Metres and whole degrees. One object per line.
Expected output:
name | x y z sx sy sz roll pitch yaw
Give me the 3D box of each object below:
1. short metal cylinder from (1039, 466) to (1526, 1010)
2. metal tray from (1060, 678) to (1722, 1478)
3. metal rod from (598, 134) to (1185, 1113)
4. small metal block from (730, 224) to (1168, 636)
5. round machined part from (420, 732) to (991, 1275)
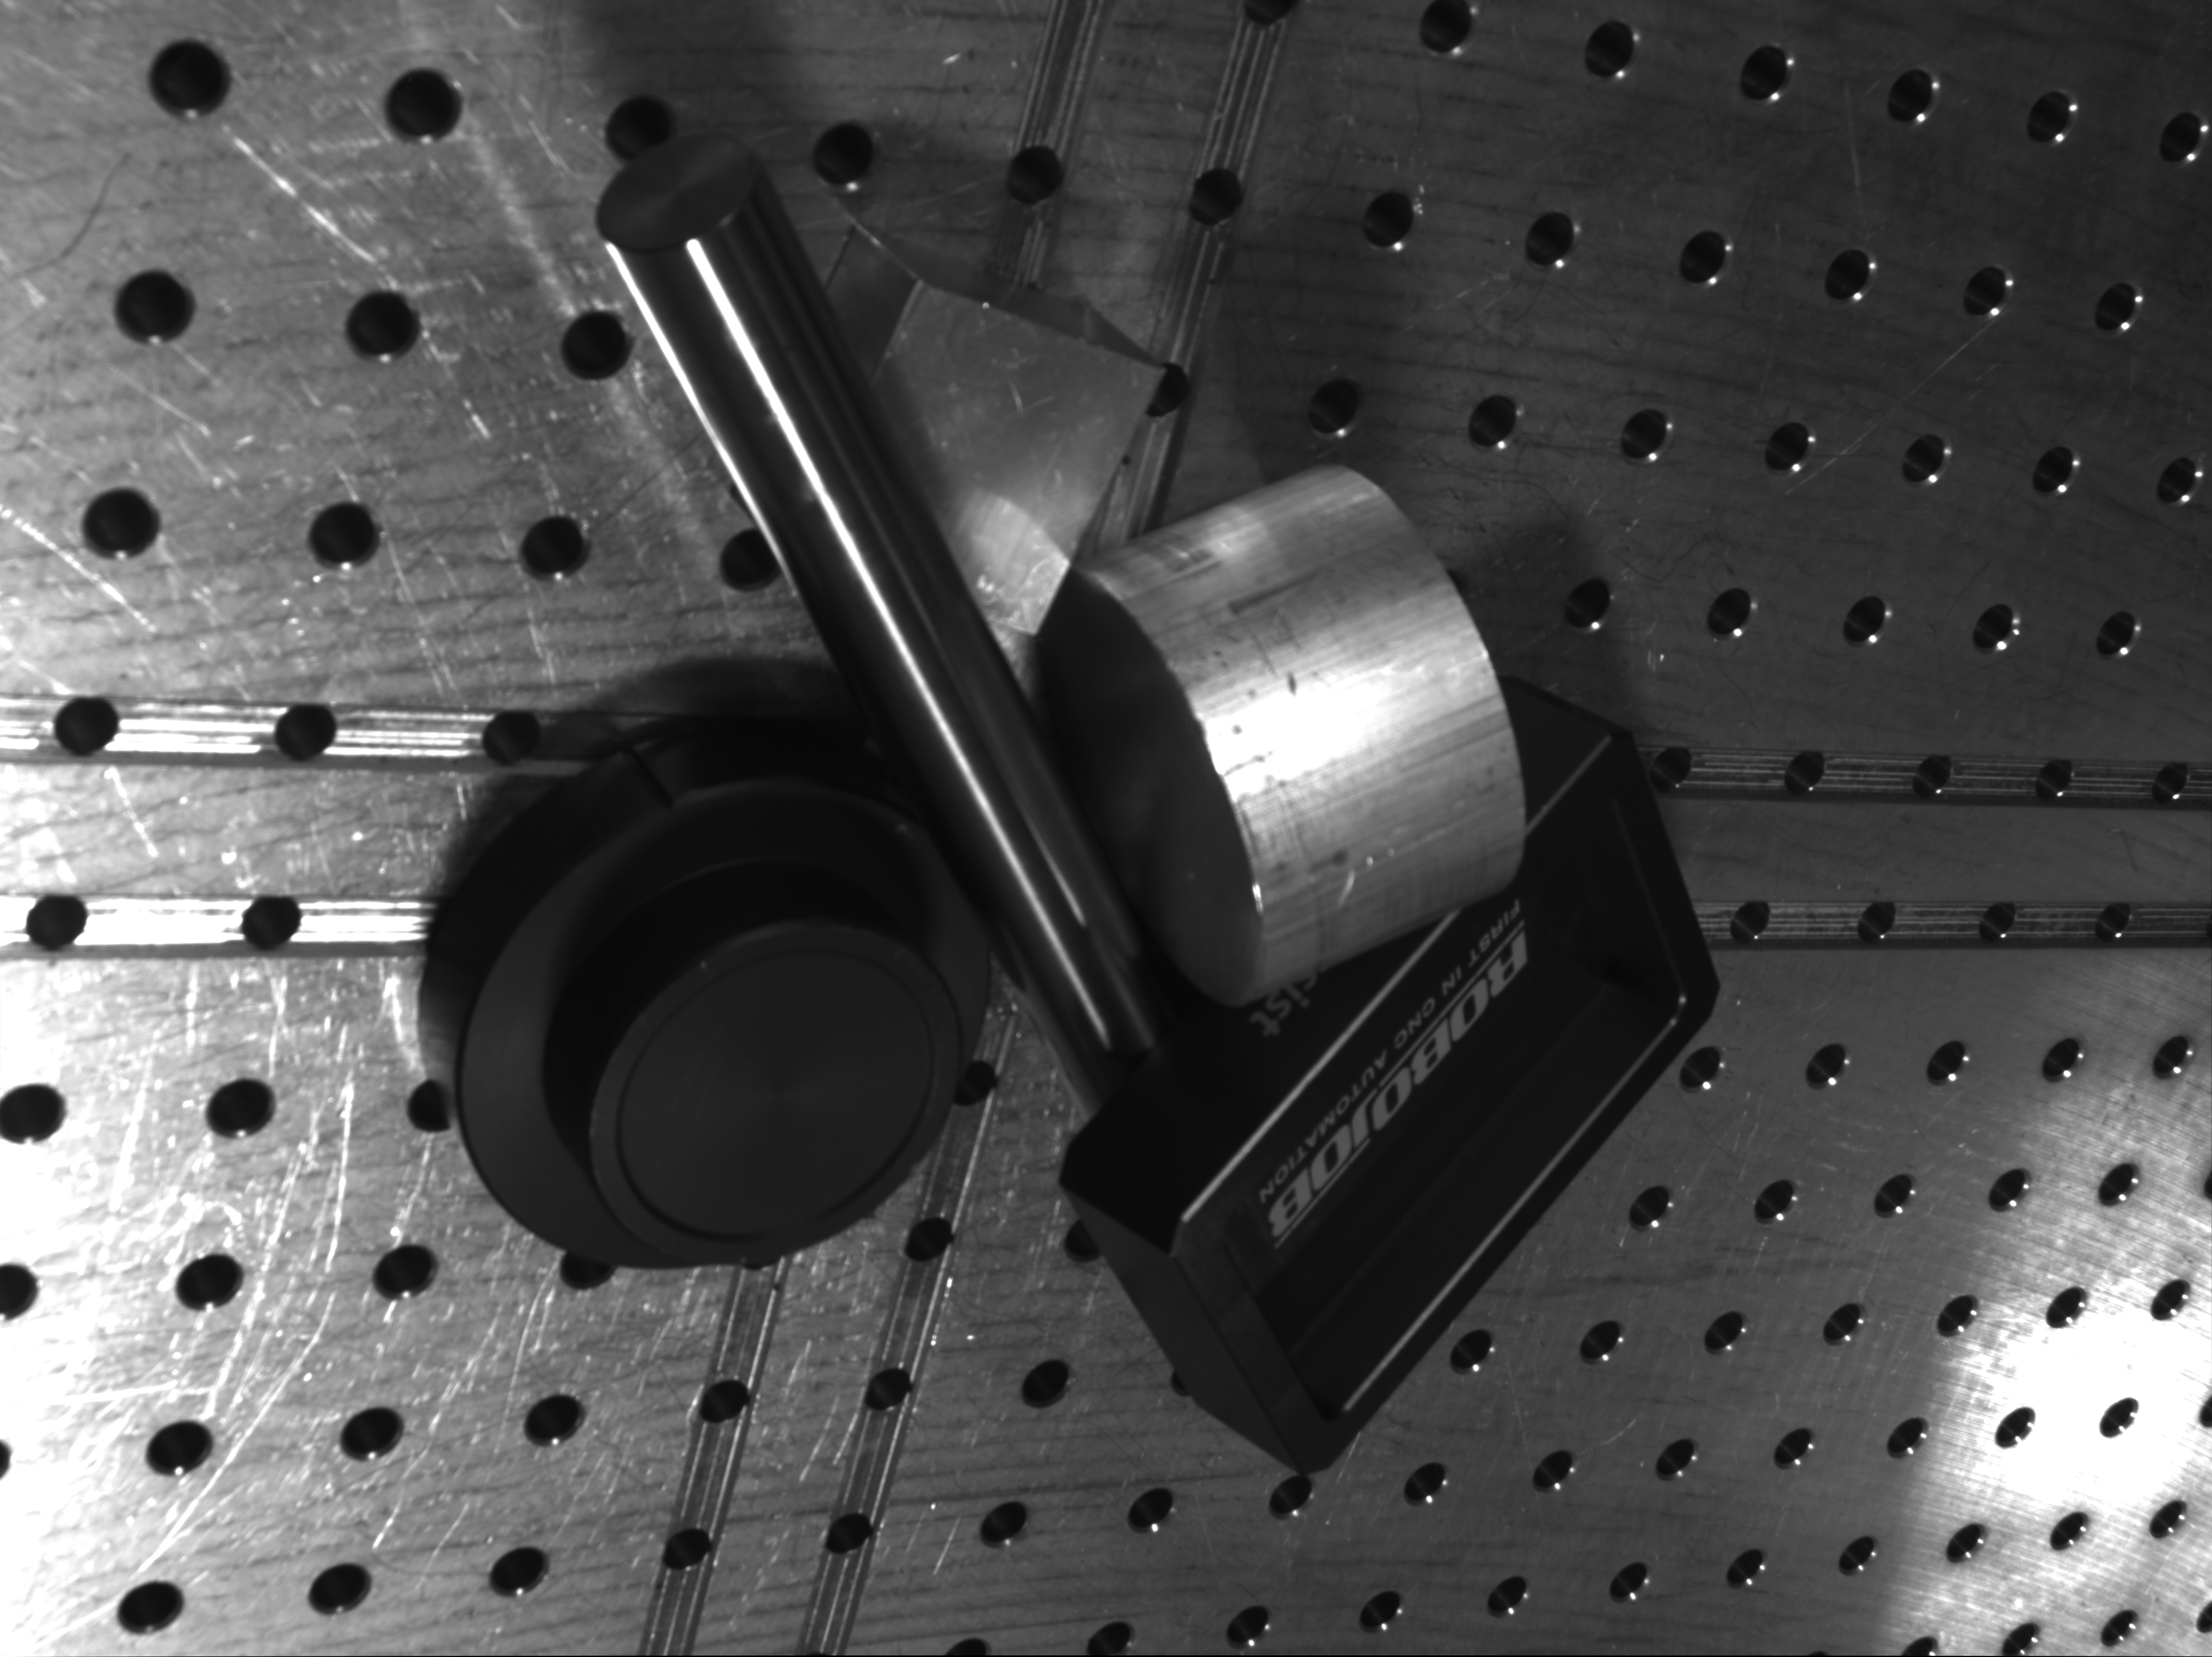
short metal cylinder | 0.029 -0.016 0.625 0.050 0.080 0.080 -23 127 -16
metal tray | 0.057 0.047 0.685 0.130 0.030 0.090 -47 140 -17
metal rod | -0.015 0.003 0.625 0.025 0.025 0.301 -34 138 -7
small metal block | -0.026 -0.065 0.599 0.050 0.025 0.050 14 110 -36
round machined part | -0.064 0.036 0.627 0.098 0.042 0.098 -15 125 -22
